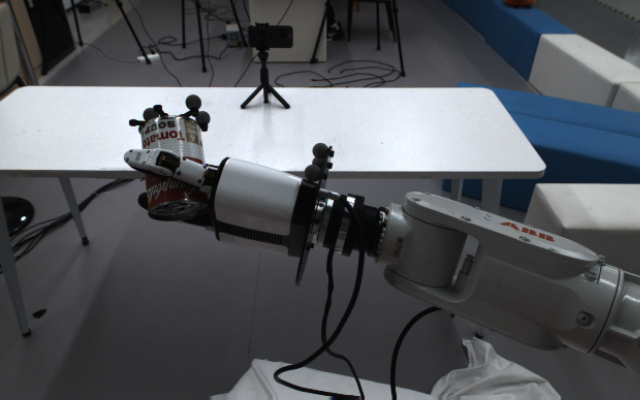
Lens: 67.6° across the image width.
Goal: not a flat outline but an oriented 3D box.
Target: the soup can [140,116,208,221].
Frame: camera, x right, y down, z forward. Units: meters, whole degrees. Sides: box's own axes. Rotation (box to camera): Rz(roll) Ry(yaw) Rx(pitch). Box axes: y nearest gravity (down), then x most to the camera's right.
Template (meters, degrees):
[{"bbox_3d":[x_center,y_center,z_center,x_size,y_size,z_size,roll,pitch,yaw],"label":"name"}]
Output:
[{"bbox_3d":[-0.161,-0.034,0.543,0.067,0.067,0.101,-8,73,-14],"label":"soup can"}]
